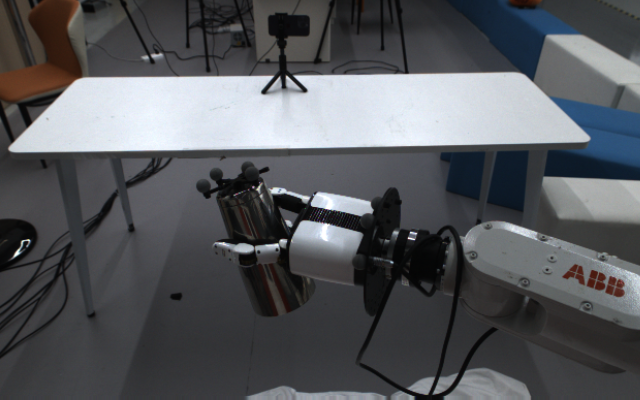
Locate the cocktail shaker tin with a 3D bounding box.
[{"bbox_3d":[-0.076,0.059,0.644,0.093,0.170,0.093,-17,20,7],"label":"cocktail shaker tin"}]
